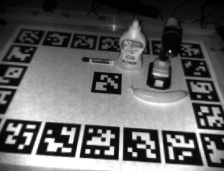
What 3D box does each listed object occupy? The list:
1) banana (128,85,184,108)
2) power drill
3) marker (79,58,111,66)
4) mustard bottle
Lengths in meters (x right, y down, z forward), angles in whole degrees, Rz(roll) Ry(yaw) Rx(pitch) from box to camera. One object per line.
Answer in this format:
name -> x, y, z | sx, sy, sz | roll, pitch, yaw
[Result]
banana -> 0.148, 0.043, 0.738 | 0.197, 0.039, 0.074 | 9, 51, 4
power drill -> 0.167, -0.085, 0.722 | 0.057, 0.187, 0.184 | 15, 48, 7
marker -> -0.066, -0.091, 0.838 | 0.121, 0.020, 0.019 | 5, 51, -1
mustard bottle -> 0.064, -0.131, 0.771 | 0.096, 0.192, 0.058 | 12, 50, 5
